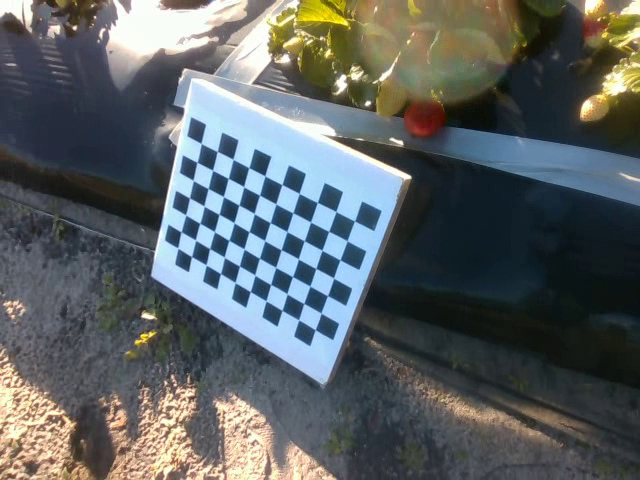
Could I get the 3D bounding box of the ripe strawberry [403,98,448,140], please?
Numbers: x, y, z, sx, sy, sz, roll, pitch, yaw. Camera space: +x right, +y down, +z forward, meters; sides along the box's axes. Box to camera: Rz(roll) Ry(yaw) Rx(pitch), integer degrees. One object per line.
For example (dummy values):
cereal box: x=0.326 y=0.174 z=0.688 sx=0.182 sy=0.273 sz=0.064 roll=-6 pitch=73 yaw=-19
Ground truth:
ripe strawberry: x=0.107 y=-0.123 z=0.651 sx=0.049 sy=0.045 sz=0.064 roll=34 pitch=35 yaw=-14
